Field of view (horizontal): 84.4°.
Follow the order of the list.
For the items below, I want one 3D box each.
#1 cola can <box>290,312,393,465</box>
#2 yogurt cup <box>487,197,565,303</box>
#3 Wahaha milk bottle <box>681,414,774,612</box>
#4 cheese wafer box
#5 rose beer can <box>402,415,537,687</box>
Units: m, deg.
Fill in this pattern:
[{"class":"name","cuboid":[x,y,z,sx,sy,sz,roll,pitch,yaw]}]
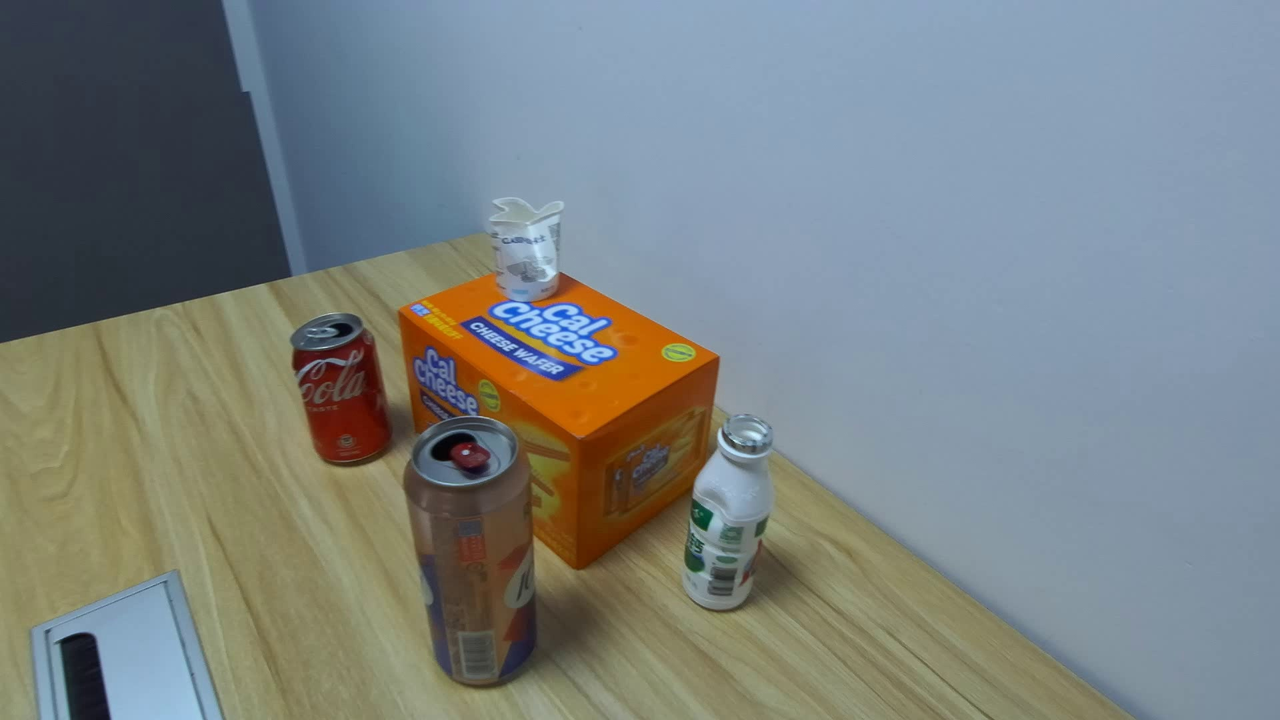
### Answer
[{"class":"cola can","cuboid":[-0.244,0.025,0.582,0.065,0.117,0.072,7,33,2]},{"class":"yogurt cup","cuboid":[-0.093,-0.092,0.582,0.055,0.072,0.055,5,33,-2]},{"class":"Wahaha milk bottle","cuboid":[0.059,0.106,0.468,0.053,0.137,0.053,3,35,-2]},{"class":"cheese wafer box","cuboid":[-0.068,0.031,0.579,0.221,0.129,0.149,30,43,34]},{"class":"rose beer can","cuboid":[-0.095,0.116,0.414,0.068,0.169,0.068,2,34,-1]}]
